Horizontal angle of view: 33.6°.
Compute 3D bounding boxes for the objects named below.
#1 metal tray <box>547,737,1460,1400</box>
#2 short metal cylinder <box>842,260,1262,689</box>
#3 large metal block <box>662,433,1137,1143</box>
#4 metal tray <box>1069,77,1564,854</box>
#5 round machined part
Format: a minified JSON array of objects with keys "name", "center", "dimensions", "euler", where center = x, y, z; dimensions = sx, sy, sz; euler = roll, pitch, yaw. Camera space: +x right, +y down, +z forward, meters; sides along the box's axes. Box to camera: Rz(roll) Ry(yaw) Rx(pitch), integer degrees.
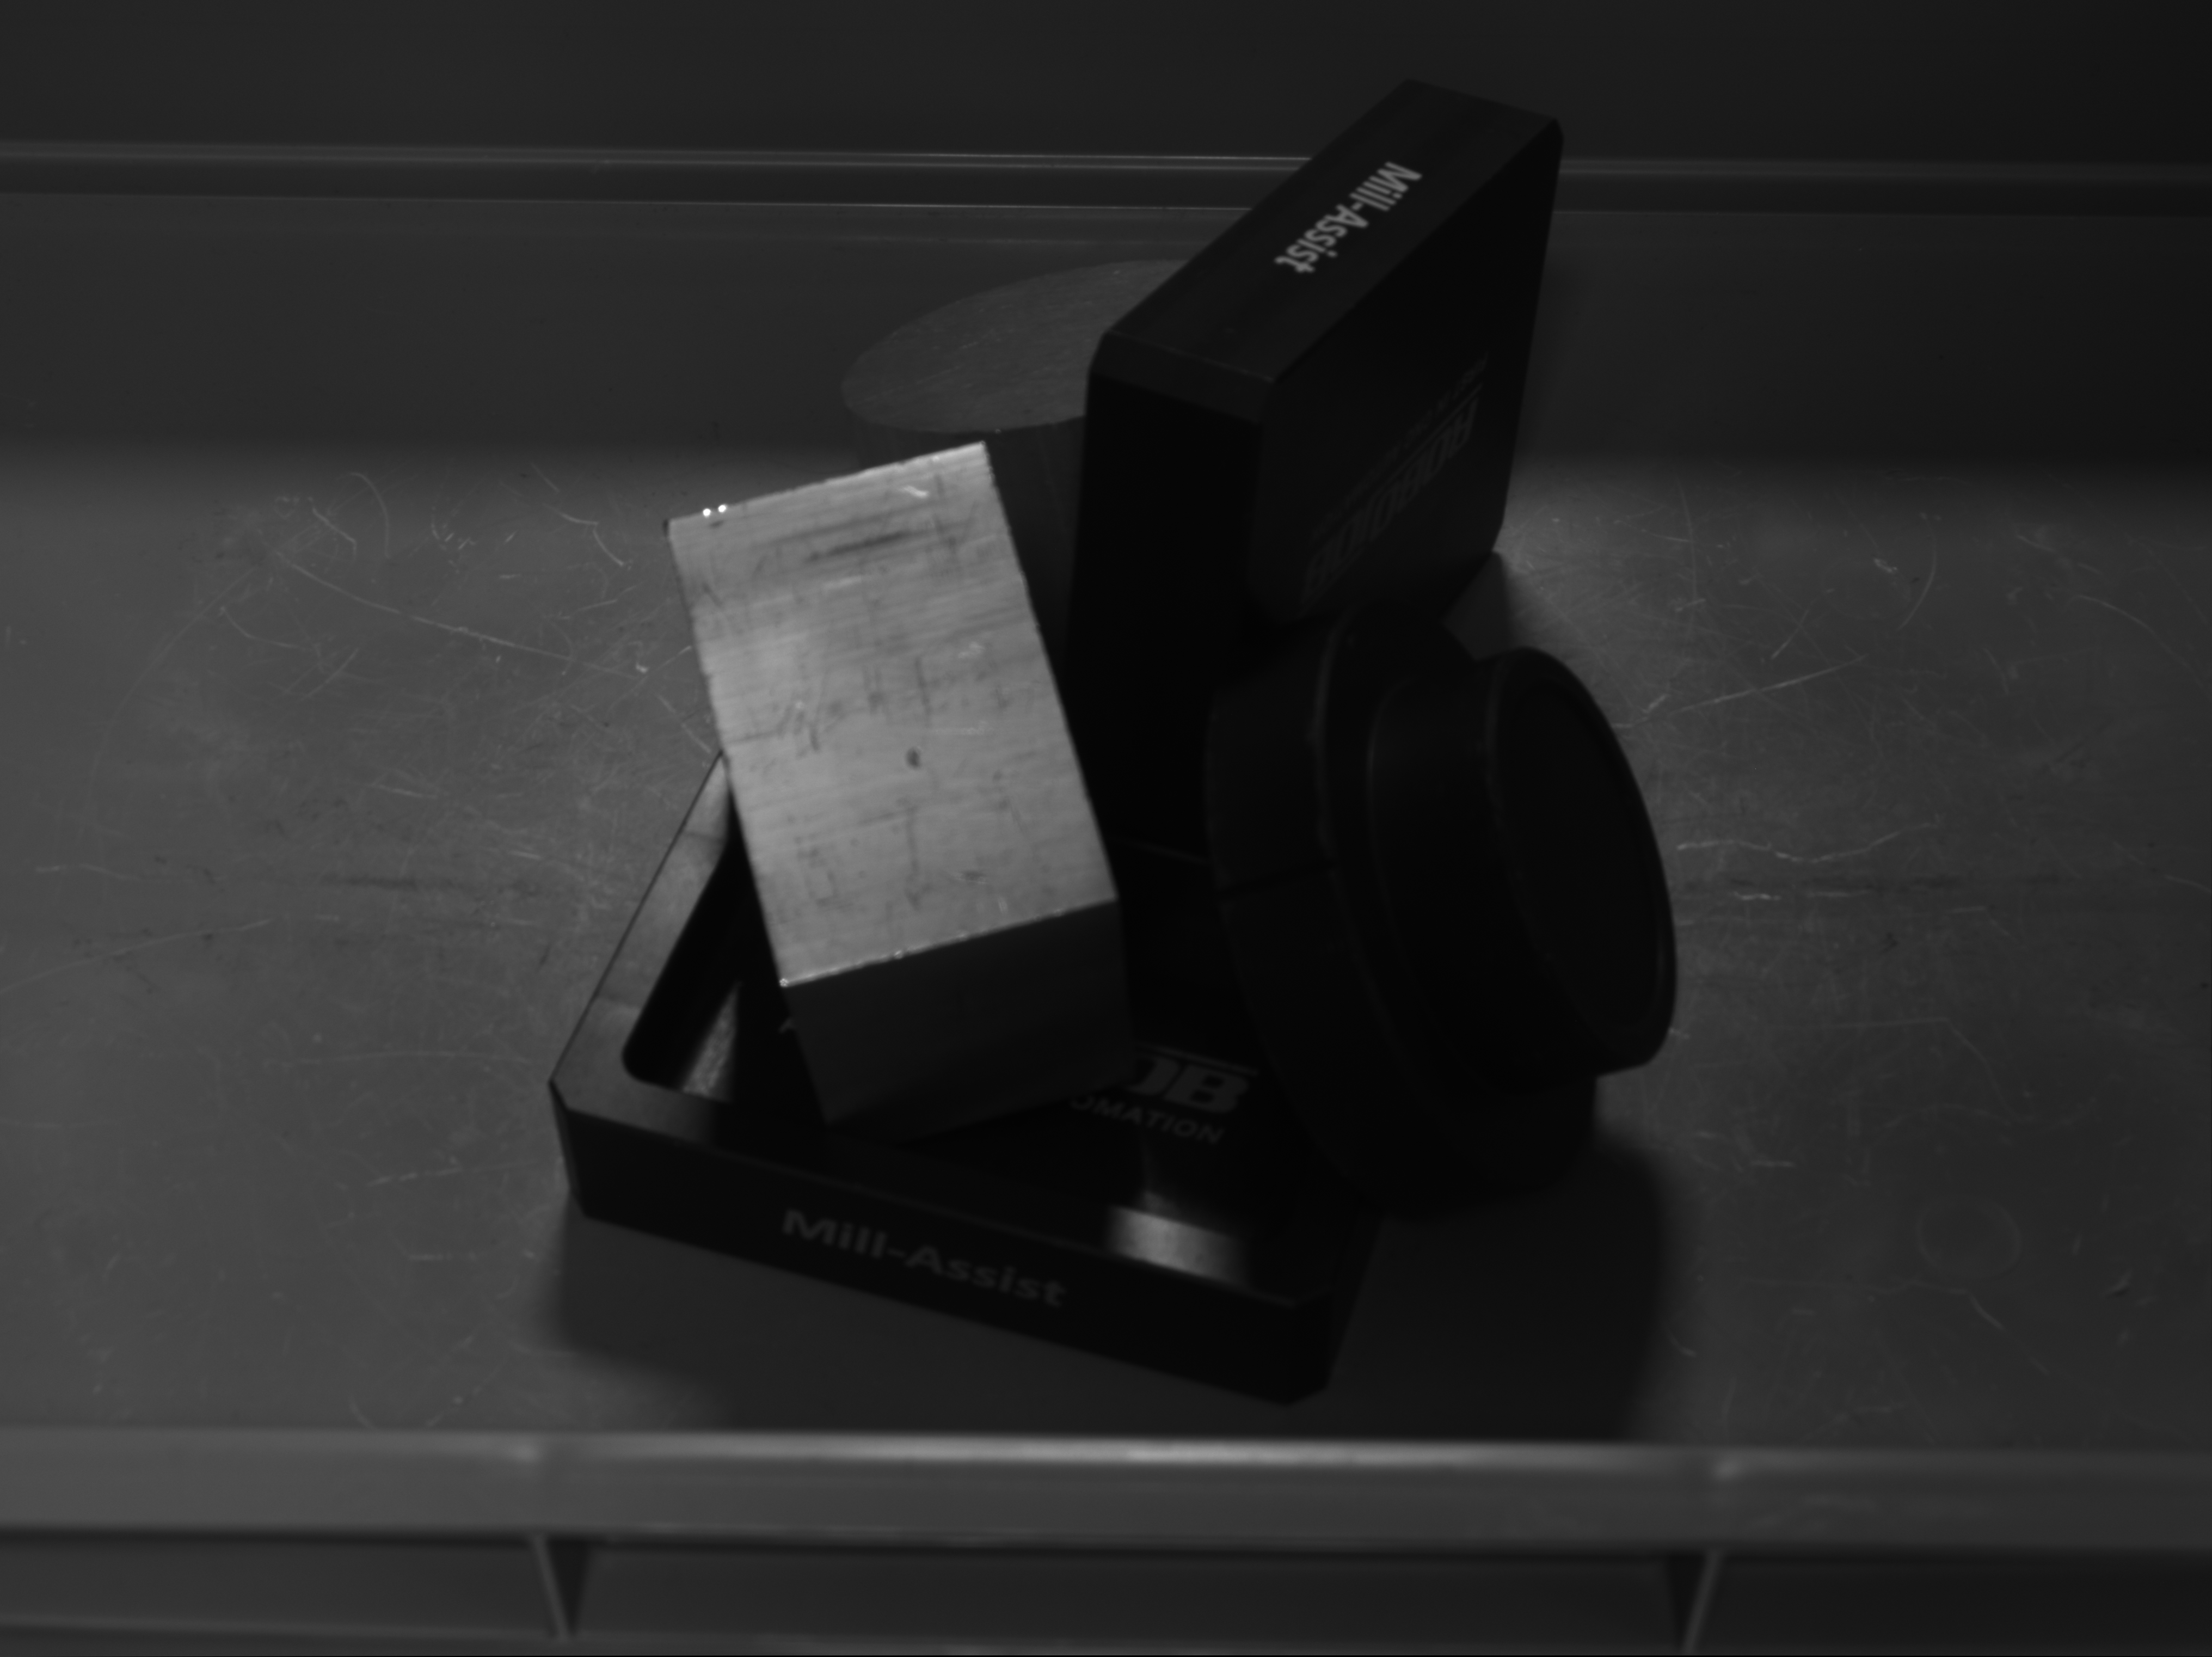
[{"name":"metal tray","center":[-0.015,0.035,0.607],"dimensions":[0.130,0.030,0.090],"euler":[13,51,11]},{"name":"short metal cylinder","center":[-0.003,-0.064,0.659],"dimensions":[0.080,0.050,0.080],"euler":[-10,26,5]},{"name":"large metal block","center":[-0.031,-0.003,0.577],"dimensions":[0.050,0.080,0.080],"euler":[-15,67,-5]},{"name":"metal tray","center":[0.037,-0.065,0.633],"dimensions":[0.030,0.090,0.130],"euler":[19,37,19]},{"name":"round machined part","center":[0.058,0.010,0.580],"dimensions":[0.042,0.098,0.098],"euler":[-17,44,26]}]
